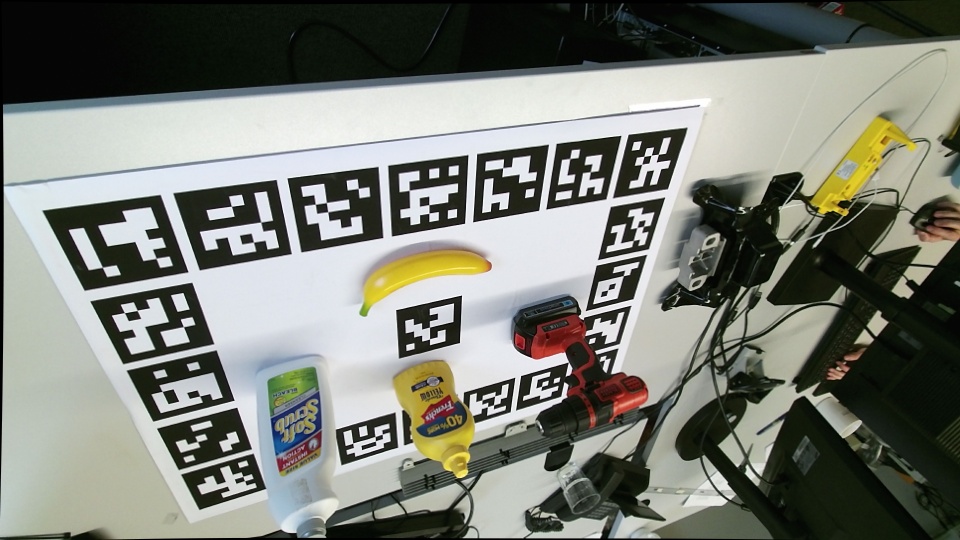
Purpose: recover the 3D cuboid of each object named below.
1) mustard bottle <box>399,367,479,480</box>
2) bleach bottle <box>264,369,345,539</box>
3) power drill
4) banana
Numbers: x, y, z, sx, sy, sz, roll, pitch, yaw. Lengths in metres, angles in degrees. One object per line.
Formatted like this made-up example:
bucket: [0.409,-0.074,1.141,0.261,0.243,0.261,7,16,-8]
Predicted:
mustard bottle: [-0.054,0.236,0.814,0.096,0.191,0.058,-18,129,-13]
bleach bottle: [-0.217,0.238,0.690,0.103,0.250,0.068,-5,125,-24]
power drill: [0.134,0.177,0.827,0.185,0.186,0.057,-19,130,-19]
banana: [-0.069,0.026,0.740,0.198,0.039,0.074,-18,128,-18]
